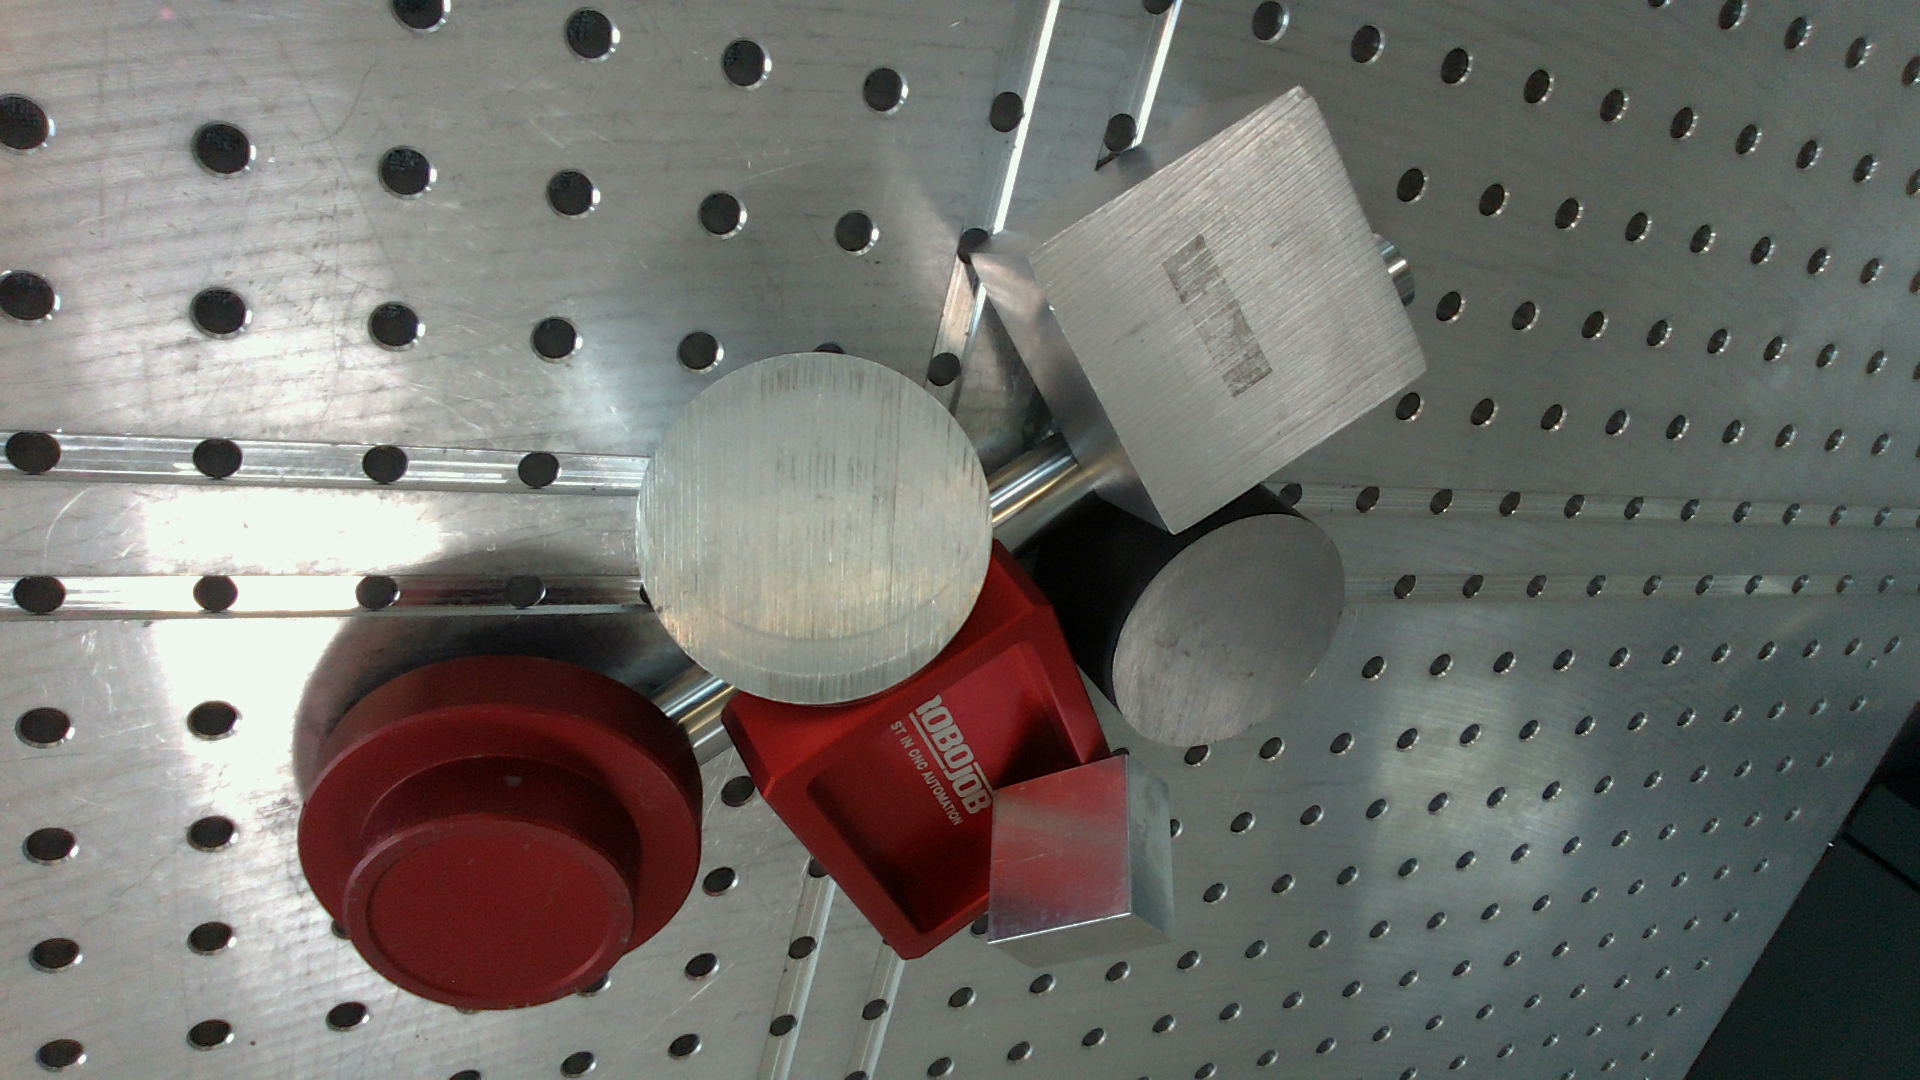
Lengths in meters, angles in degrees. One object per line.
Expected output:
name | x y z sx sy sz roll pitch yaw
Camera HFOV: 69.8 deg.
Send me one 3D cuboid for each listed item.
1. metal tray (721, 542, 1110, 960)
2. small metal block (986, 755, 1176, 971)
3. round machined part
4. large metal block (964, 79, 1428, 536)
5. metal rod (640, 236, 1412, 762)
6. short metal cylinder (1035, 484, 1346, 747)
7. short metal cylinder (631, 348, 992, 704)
metal tray | -0.004 0.068 0.410 0.090 0.030 0.130 -33 141 -7
small metal block | 0.036 0.099 0.418 0.050 0.050 0.025 -21 139 30
round machined part | -0.116 0.080 0.350 0.098 0.042 0.098 -5 124 -7
large metal block | 0.060 -0.060 0.357 0.080 0.050 0.080 -32 109 -7
metal rod | 0.001 0.000 0.394 0.300 0.025 0.025 -33 129 -6
short metal cylinder | 0.070 0.016 0.423 0.080 0.050 0.080 -14 124 -21
short metal cylinder | -0.034 -0.001 0.331 0.080 0.050 0.080 0 83 -3
